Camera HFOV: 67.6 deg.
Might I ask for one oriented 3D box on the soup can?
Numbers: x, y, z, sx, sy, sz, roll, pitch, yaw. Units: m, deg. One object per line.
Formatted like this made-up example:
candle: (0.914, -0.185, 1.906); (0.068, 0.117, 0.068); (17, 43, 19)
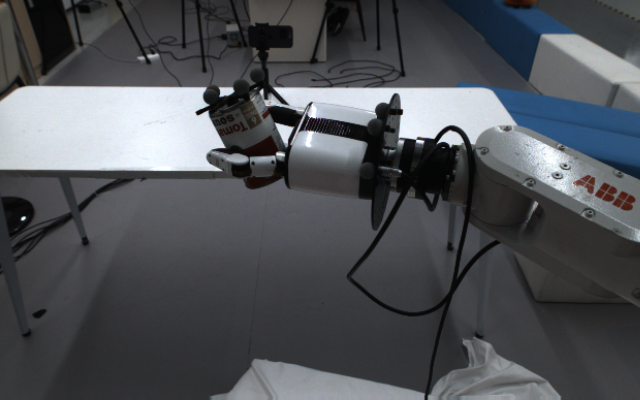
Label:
soup can: (-0.081, -0.074, 0.588); (0.067, 0.101, 0.067); (-21, 24, 10)
